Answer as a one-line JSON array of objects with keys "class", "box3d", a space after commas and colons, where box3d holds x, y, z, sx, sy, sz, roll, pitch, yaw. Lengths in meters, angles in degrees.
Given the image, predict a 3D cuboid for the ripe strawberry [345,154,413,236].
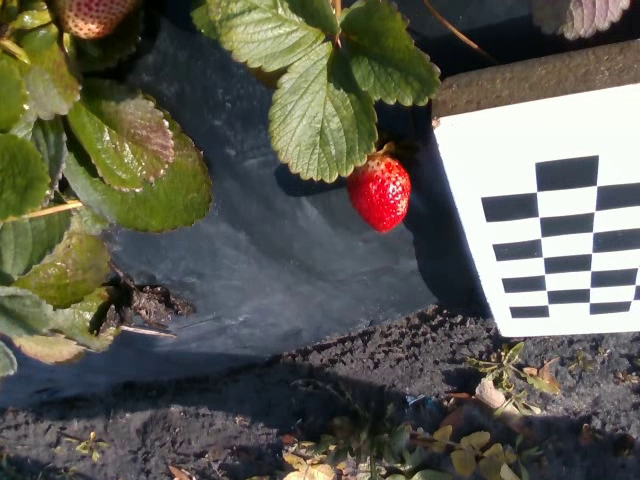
[{"class": "ripe strawberry", "box3d": [0.027, -0.018, 0.257, 0.034, 0.038, 0.033, -6, 10, 21]}]
